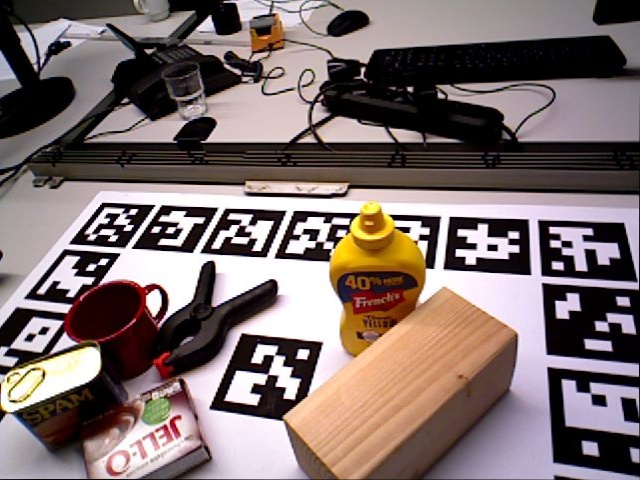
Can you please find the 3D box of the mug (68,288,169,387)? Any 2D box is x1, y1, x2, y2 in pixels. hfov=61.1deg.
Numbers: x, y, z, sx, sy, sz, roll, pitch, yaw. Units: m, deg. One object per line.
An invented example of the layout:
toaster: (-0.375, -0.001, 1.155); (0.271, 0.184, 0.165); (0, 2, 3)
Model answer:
mug: (-0.223, 0.110, 0.639); (0.093, 0.083, 0.115); (21, 54, 30)

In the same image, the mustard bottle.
mustard bottle: (0.060, 0.036, 0.530); (0.096, 0.195, 0.057); (-1, 44, 12)

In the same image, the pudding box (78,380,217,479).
pudding box: (-0.167, 0.201, 0.529); (0.112, 0.039, 0.089); (-24, 44, -14)

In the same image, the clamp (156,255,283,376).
clamp: (-0.134, 0.089, 0.646); (0.122, 0.037, 0.161); (19, 53, 28)

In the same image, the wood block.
wood block: (0.086, 0.150, 0.488); (0.202, 0.092, 0.090); (-33, 45, -23)

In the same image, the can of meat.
can of meat: (-0.261, 0.162, 0.551); (0.101, 0.085, 0.057); (-18, 44, -7)
